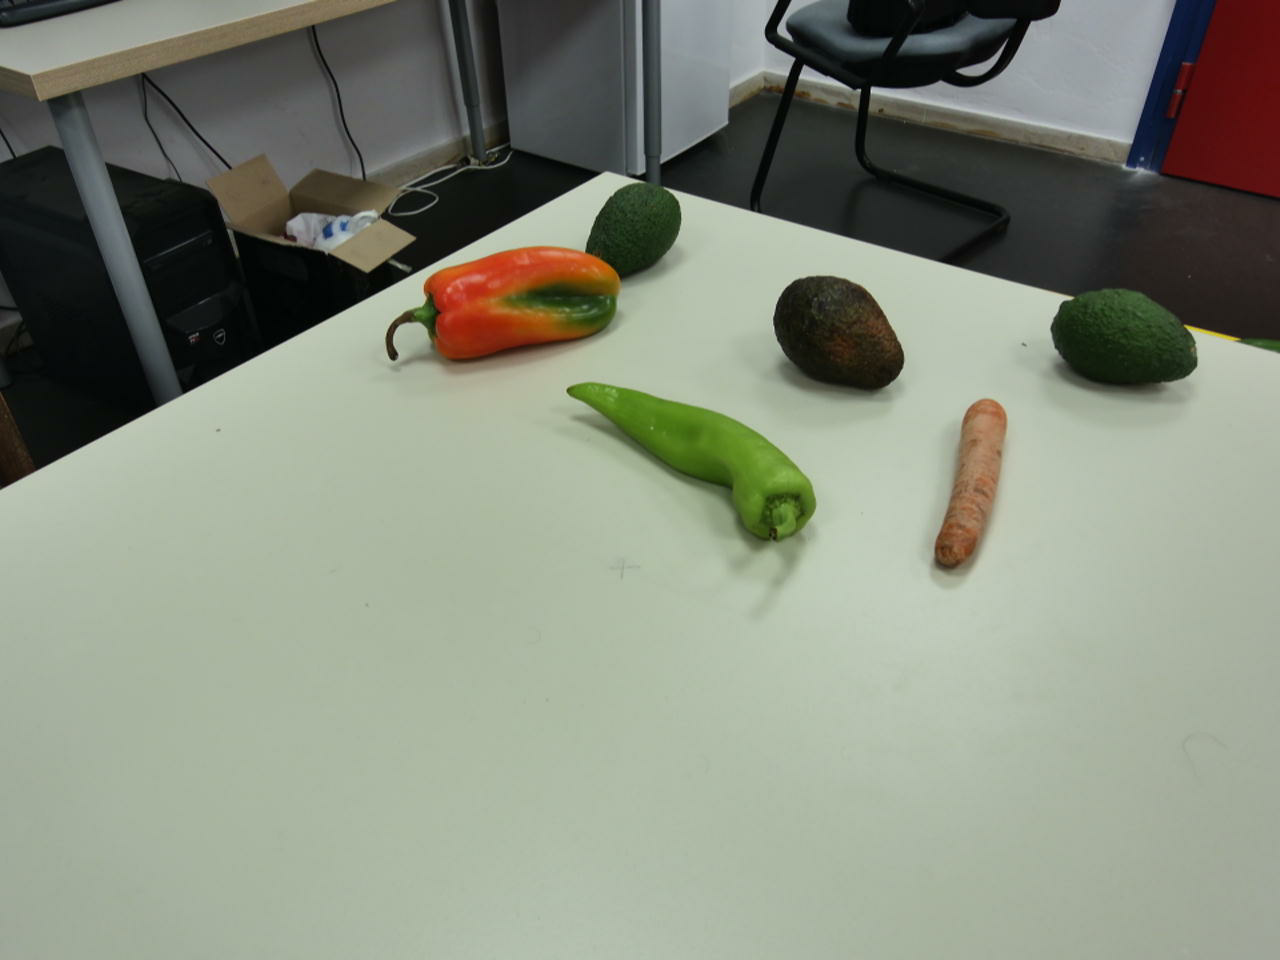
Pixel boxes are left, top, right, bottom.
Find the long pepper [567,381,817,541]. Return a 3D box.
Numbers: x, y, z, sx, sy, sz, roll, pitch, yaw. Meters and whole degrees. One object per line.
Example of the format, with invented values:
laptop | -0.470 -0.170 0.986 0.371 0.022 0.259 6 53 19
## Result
long pepper | 0.036 -0.022 0.619 0.065 0.045 0.204 -25 44 -28
